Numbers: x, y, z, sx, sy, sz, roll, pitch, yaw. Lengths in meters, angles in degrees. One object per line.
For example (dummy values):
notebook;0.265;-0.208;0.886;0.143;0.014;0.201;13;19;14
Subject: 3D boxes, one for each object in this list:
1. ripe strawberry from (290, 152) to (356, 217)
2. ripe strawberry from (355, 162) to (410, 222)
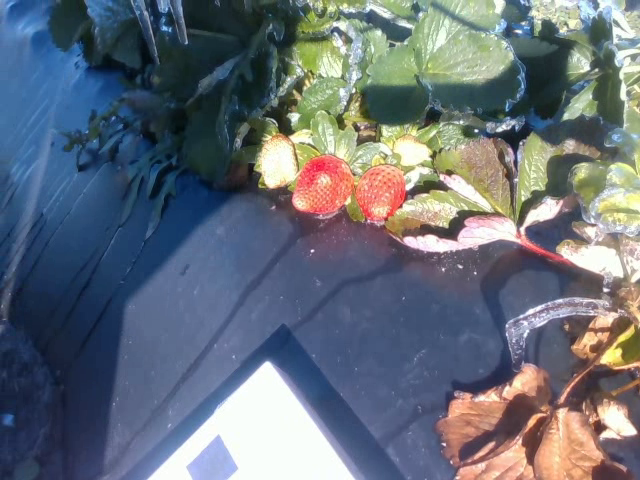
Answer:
ripe strawberry;-0.002;-0.028;0.361;0.036;0.040;0.051;-1;24;29
ripe strawberry;0.038;-0.027;0.360;0.036;0.041;0.030;-23;-42;16
